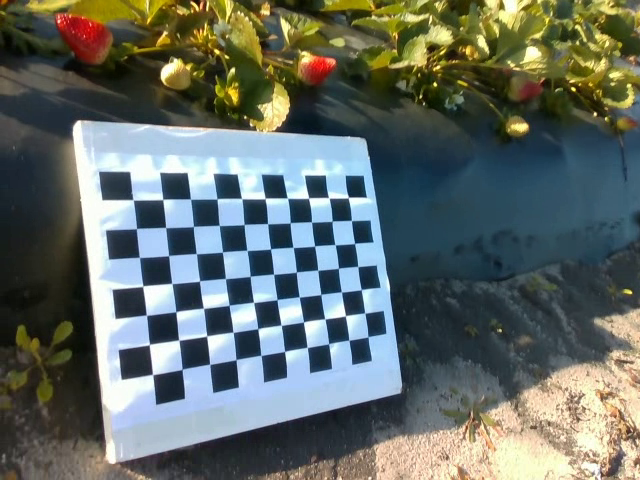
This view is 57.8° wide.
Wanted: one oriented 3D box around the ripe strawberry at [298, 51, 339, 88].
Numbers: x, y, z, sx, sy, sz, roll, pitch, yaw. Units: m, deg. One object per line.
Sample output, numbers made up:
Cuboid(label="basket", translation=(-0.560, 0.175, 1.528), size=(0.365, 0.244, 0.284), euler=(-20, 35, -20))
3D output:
Cuboid(label="ripe strawberry", translation=(-0.002, -0.167, 0.561), size=(0.045, 0.037, 0.042), euler=(-21, 4, 29))

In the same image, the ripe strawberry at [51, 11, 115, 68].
Cuboid(label="ripe strawberry", translation=(-0.185, -0.162, 0.460), size=(0.053, 0.043, 0.036), euler=(29, -23, -32))
